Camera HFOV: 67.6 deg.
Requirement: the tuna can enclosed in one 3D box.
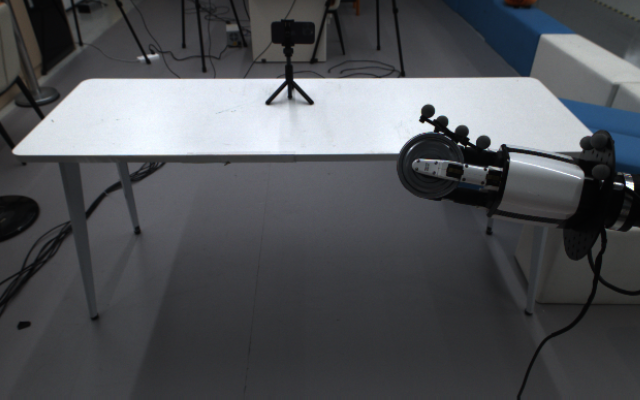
[{"bbox_3d":[0.145,-0.046,0.625,0.085,0.085,0.034,13,5,15],"label":"tuna can"}]
